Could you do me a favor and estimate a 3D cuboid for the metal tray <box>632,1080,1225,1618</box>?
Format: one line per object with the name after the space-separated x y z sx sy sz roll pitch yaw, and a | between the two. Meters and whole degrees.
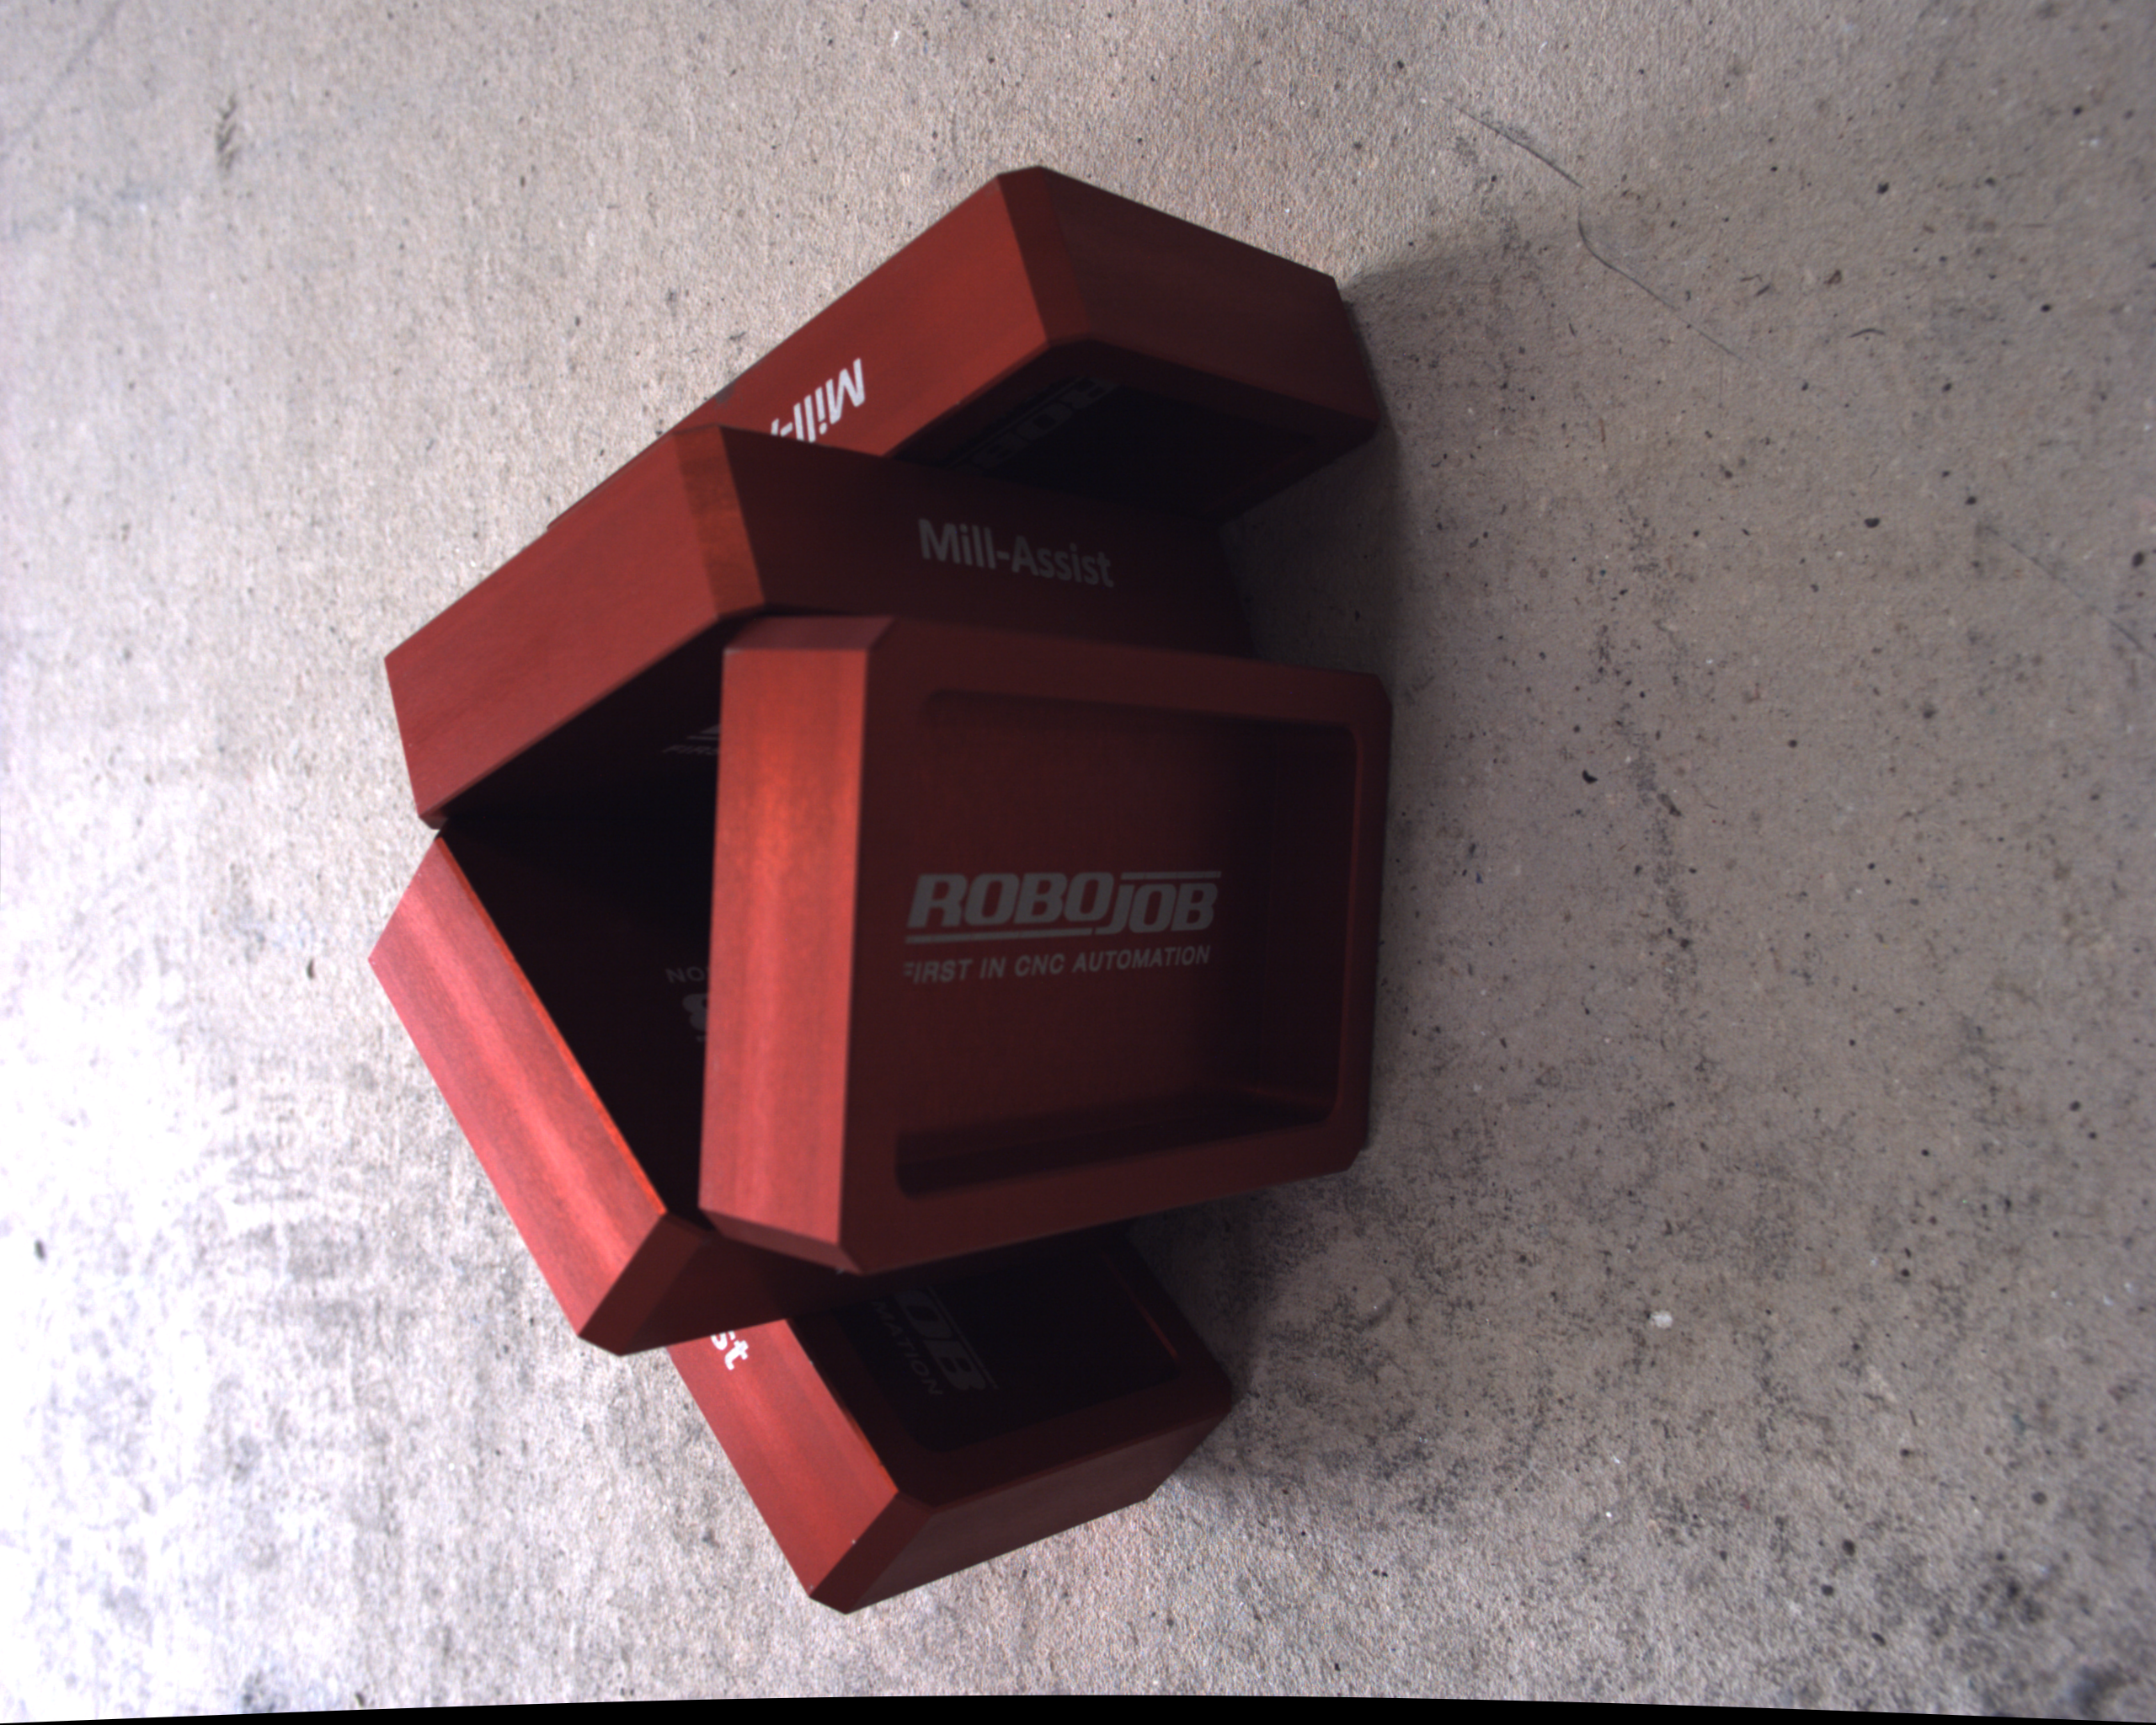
-0.042 0.069 0.398 0.130 0.091 0.030 51 120 27 | metal tray

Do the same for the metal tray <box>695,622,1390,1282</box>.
0.001 0.011 0.337 0.030 0.131 0.089 6 94 40 | metal tray

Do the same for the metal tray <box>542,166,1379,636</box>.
-0.023 -0.070 0.382 0.130 0.091 0.030 -25 74 37 | metal tray

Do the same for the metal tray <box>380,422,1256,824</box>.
-0.042 -0.036 0.372 0.090 0.131 0.030 -26 74 37 | metal tray

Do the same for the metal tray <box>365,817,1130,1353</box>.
-0.049 0.034 0.378 0.090 0.131 0.030 51 120 28 | metal tray
